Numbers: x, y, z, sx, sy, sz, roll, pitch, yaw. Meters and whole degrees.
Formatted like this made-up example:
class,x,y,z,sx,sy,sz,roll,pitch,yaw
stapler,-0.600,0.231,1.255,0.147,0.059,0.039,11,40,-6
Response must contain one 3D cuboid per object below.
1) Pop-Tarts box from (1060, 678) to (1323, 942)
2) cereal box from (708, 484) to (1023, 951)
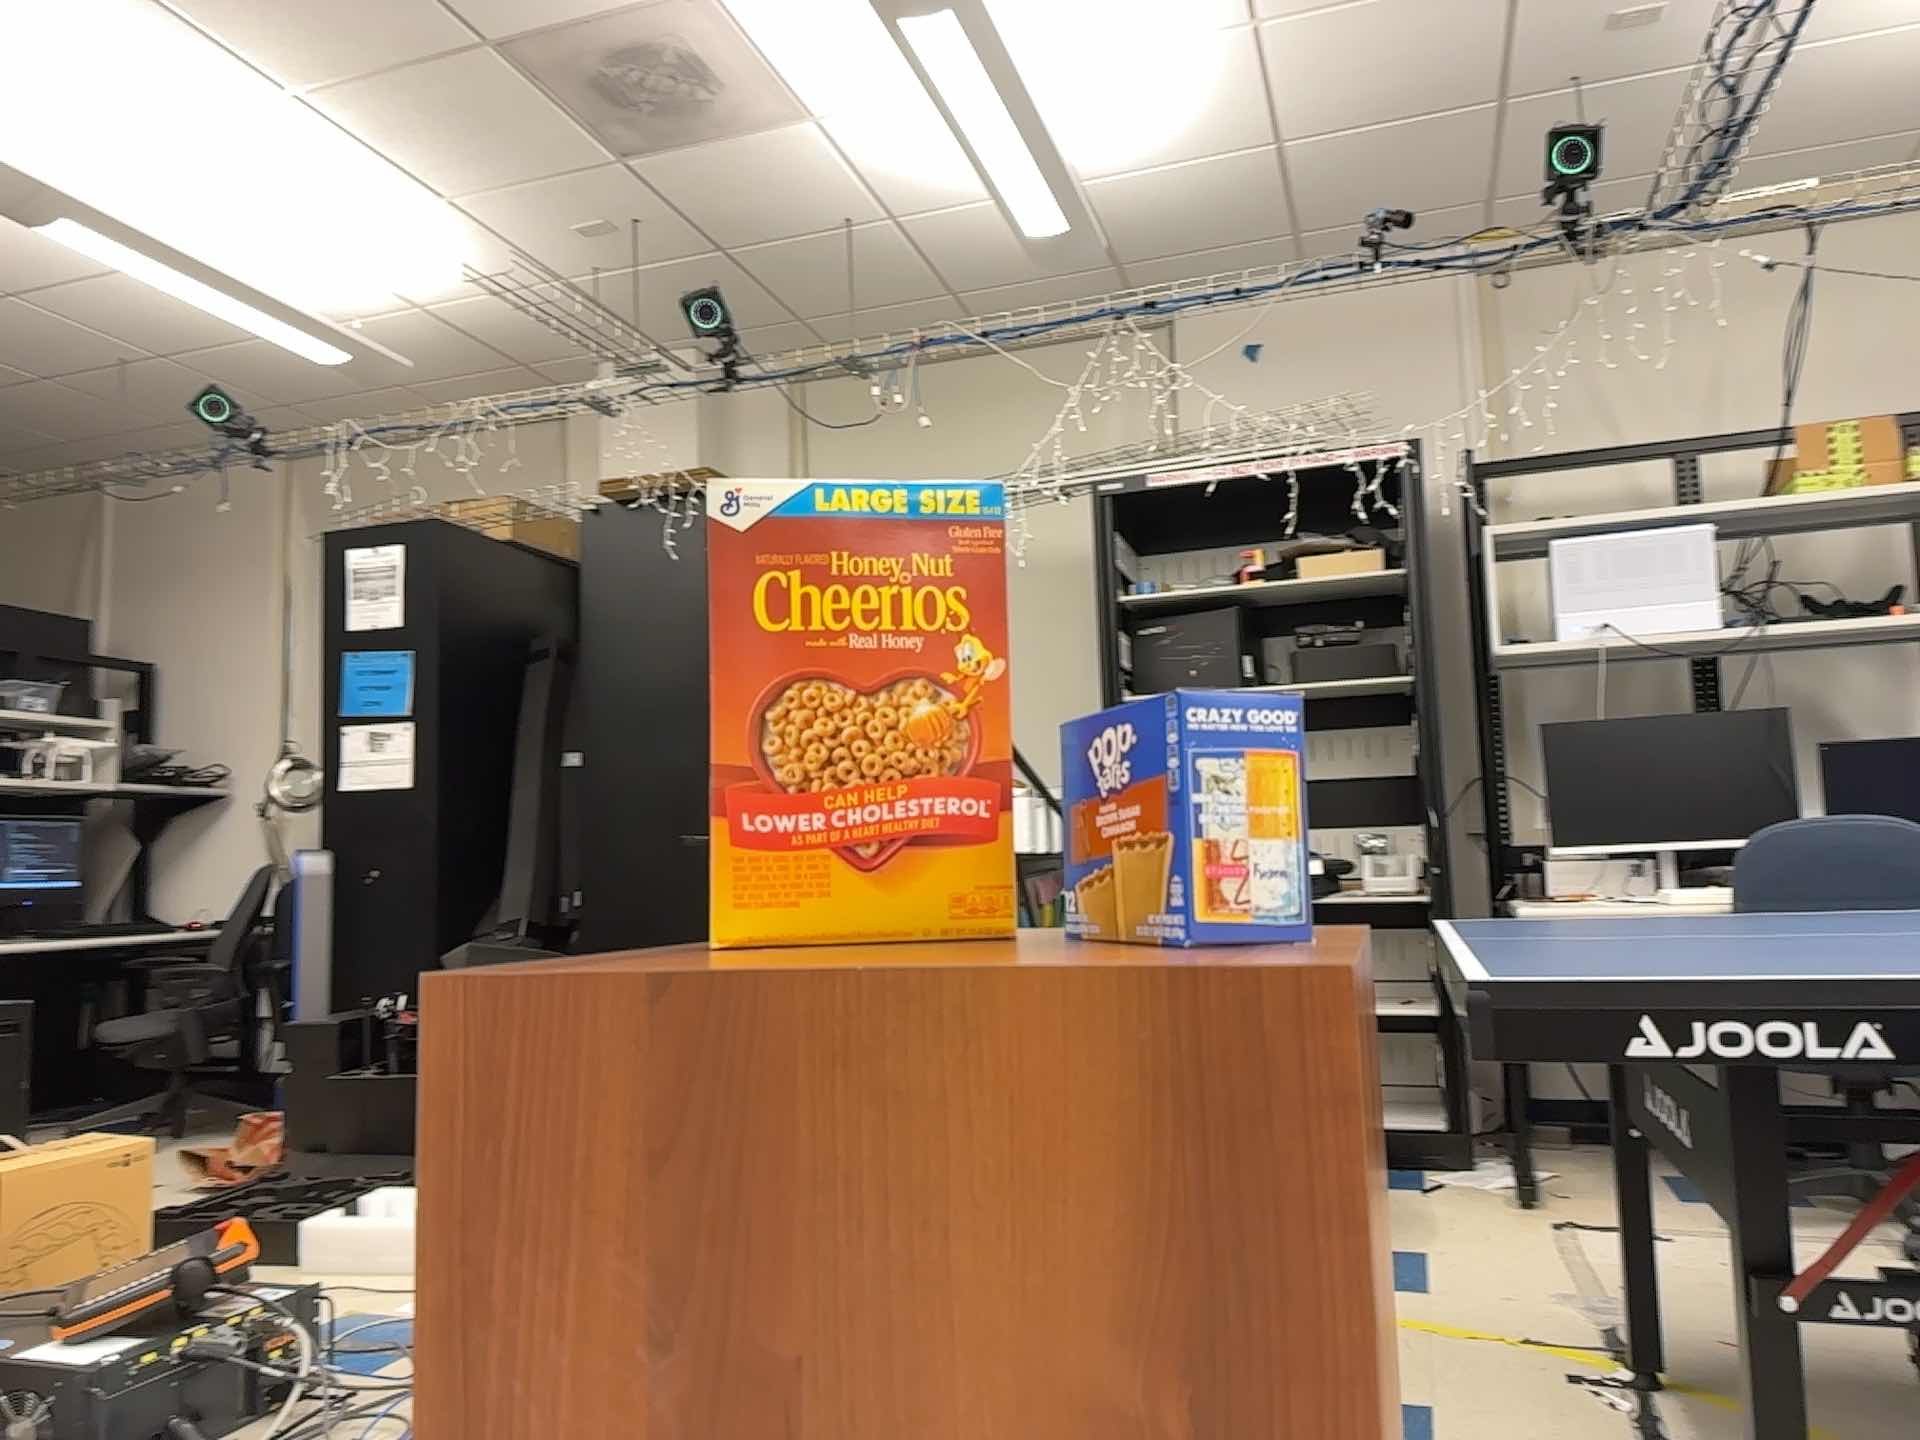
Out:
class,x,y,z,sx,sy,sz,roll,pitch,yaw
Pop-Tarts box,0.129,0.060,0.796,0.075,0.135,0.161,3,-9,-20
cereal box,-0.067,-0.003,0.899,0.195,0.297,0.065,1,-9,-11
